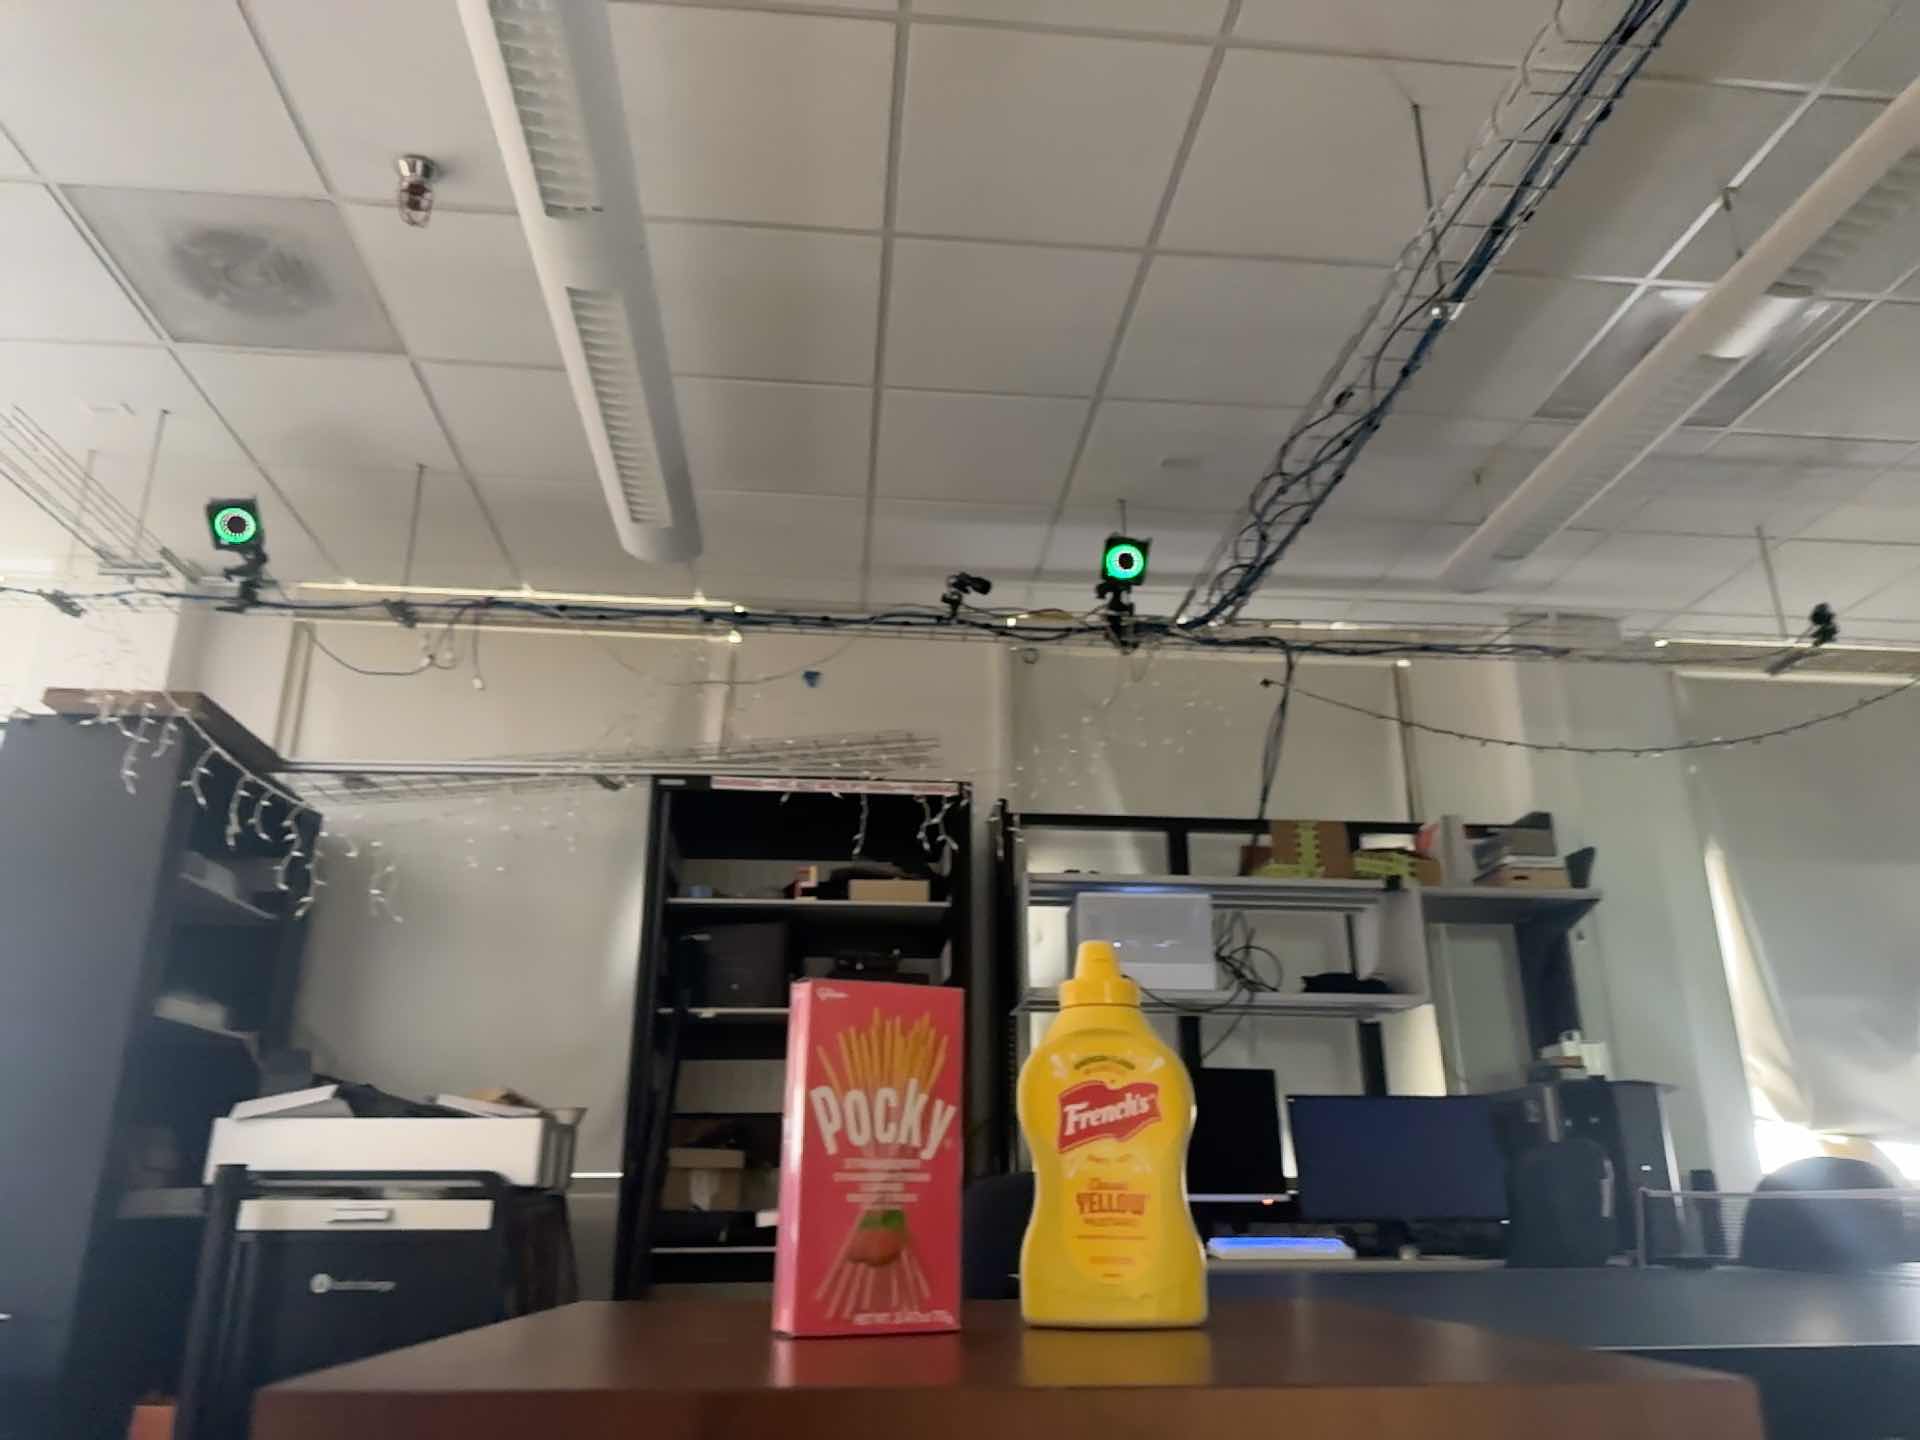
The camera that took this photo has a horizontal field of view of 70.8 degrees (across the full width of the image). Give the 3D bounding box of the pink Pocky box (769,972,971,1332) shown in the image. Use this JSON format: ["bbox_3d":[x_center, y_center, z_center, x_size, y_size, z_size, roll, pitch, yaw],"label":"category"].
[{"bbox_3d":[-0.040,0.197,0.624,0.084,0.154,0.029,8,-18,-18],"label":"pink Pocky box"}]

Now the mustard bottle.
[{"bbox_3d":[0.071,0.197,0.666,0.092,0.184,0.054,-1,-14,1],"label":"mustard bottle"}]
